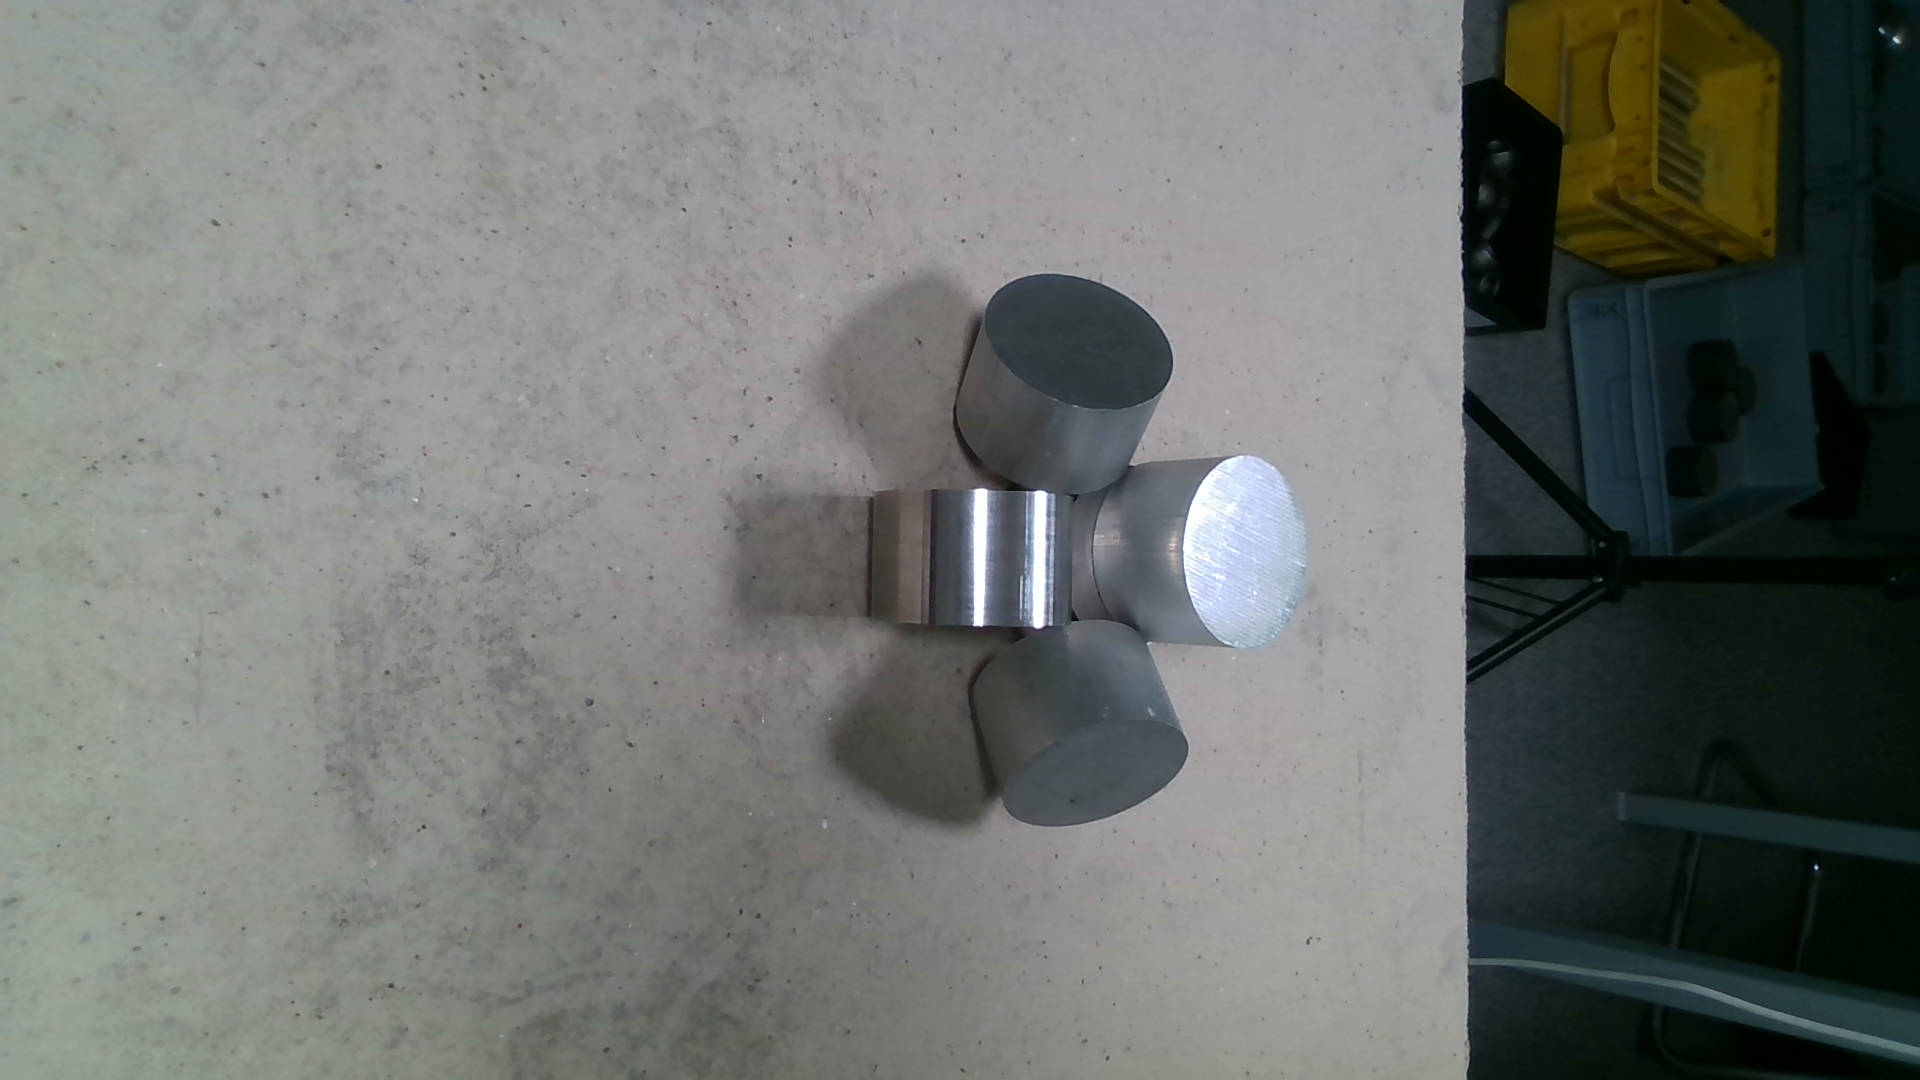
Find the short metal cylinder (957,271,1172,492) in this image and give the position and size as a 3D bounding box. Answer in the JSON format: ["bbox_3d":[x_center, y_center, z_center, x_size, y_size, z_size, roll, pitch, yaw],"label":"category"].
[{"bbox_3d":[0.042,-0.067,0.576,0.080,0.050,0.080,9,49,-10],"label":"short metal cylinder"}]

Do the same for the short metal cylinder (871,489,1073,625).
[{"bbox_3d":[0.005,0.007,0.550,0.080,0.080,0.050,2,88,-40],"label":"short metal cylinder"}]

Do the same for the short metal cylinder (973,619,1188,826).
[{"bbox_3d":[0.049,0.078,0.582,0.080,0.080,0.050,19,39,-39],"label":"short metal cylinder"}]

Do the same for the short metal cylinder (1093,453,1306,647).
[{"bbox_3d":[0.103,0.004,0.588,0.080,0.050,0.080,0,90,-40],"label":"short metal cylinder"}]

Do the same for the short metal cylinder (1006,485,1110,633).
[{"bbox_3d":[0.056,0.007,0.615,0.080,0.050,0.080,0,90,-40],"label":"short metal cylinder"}]
